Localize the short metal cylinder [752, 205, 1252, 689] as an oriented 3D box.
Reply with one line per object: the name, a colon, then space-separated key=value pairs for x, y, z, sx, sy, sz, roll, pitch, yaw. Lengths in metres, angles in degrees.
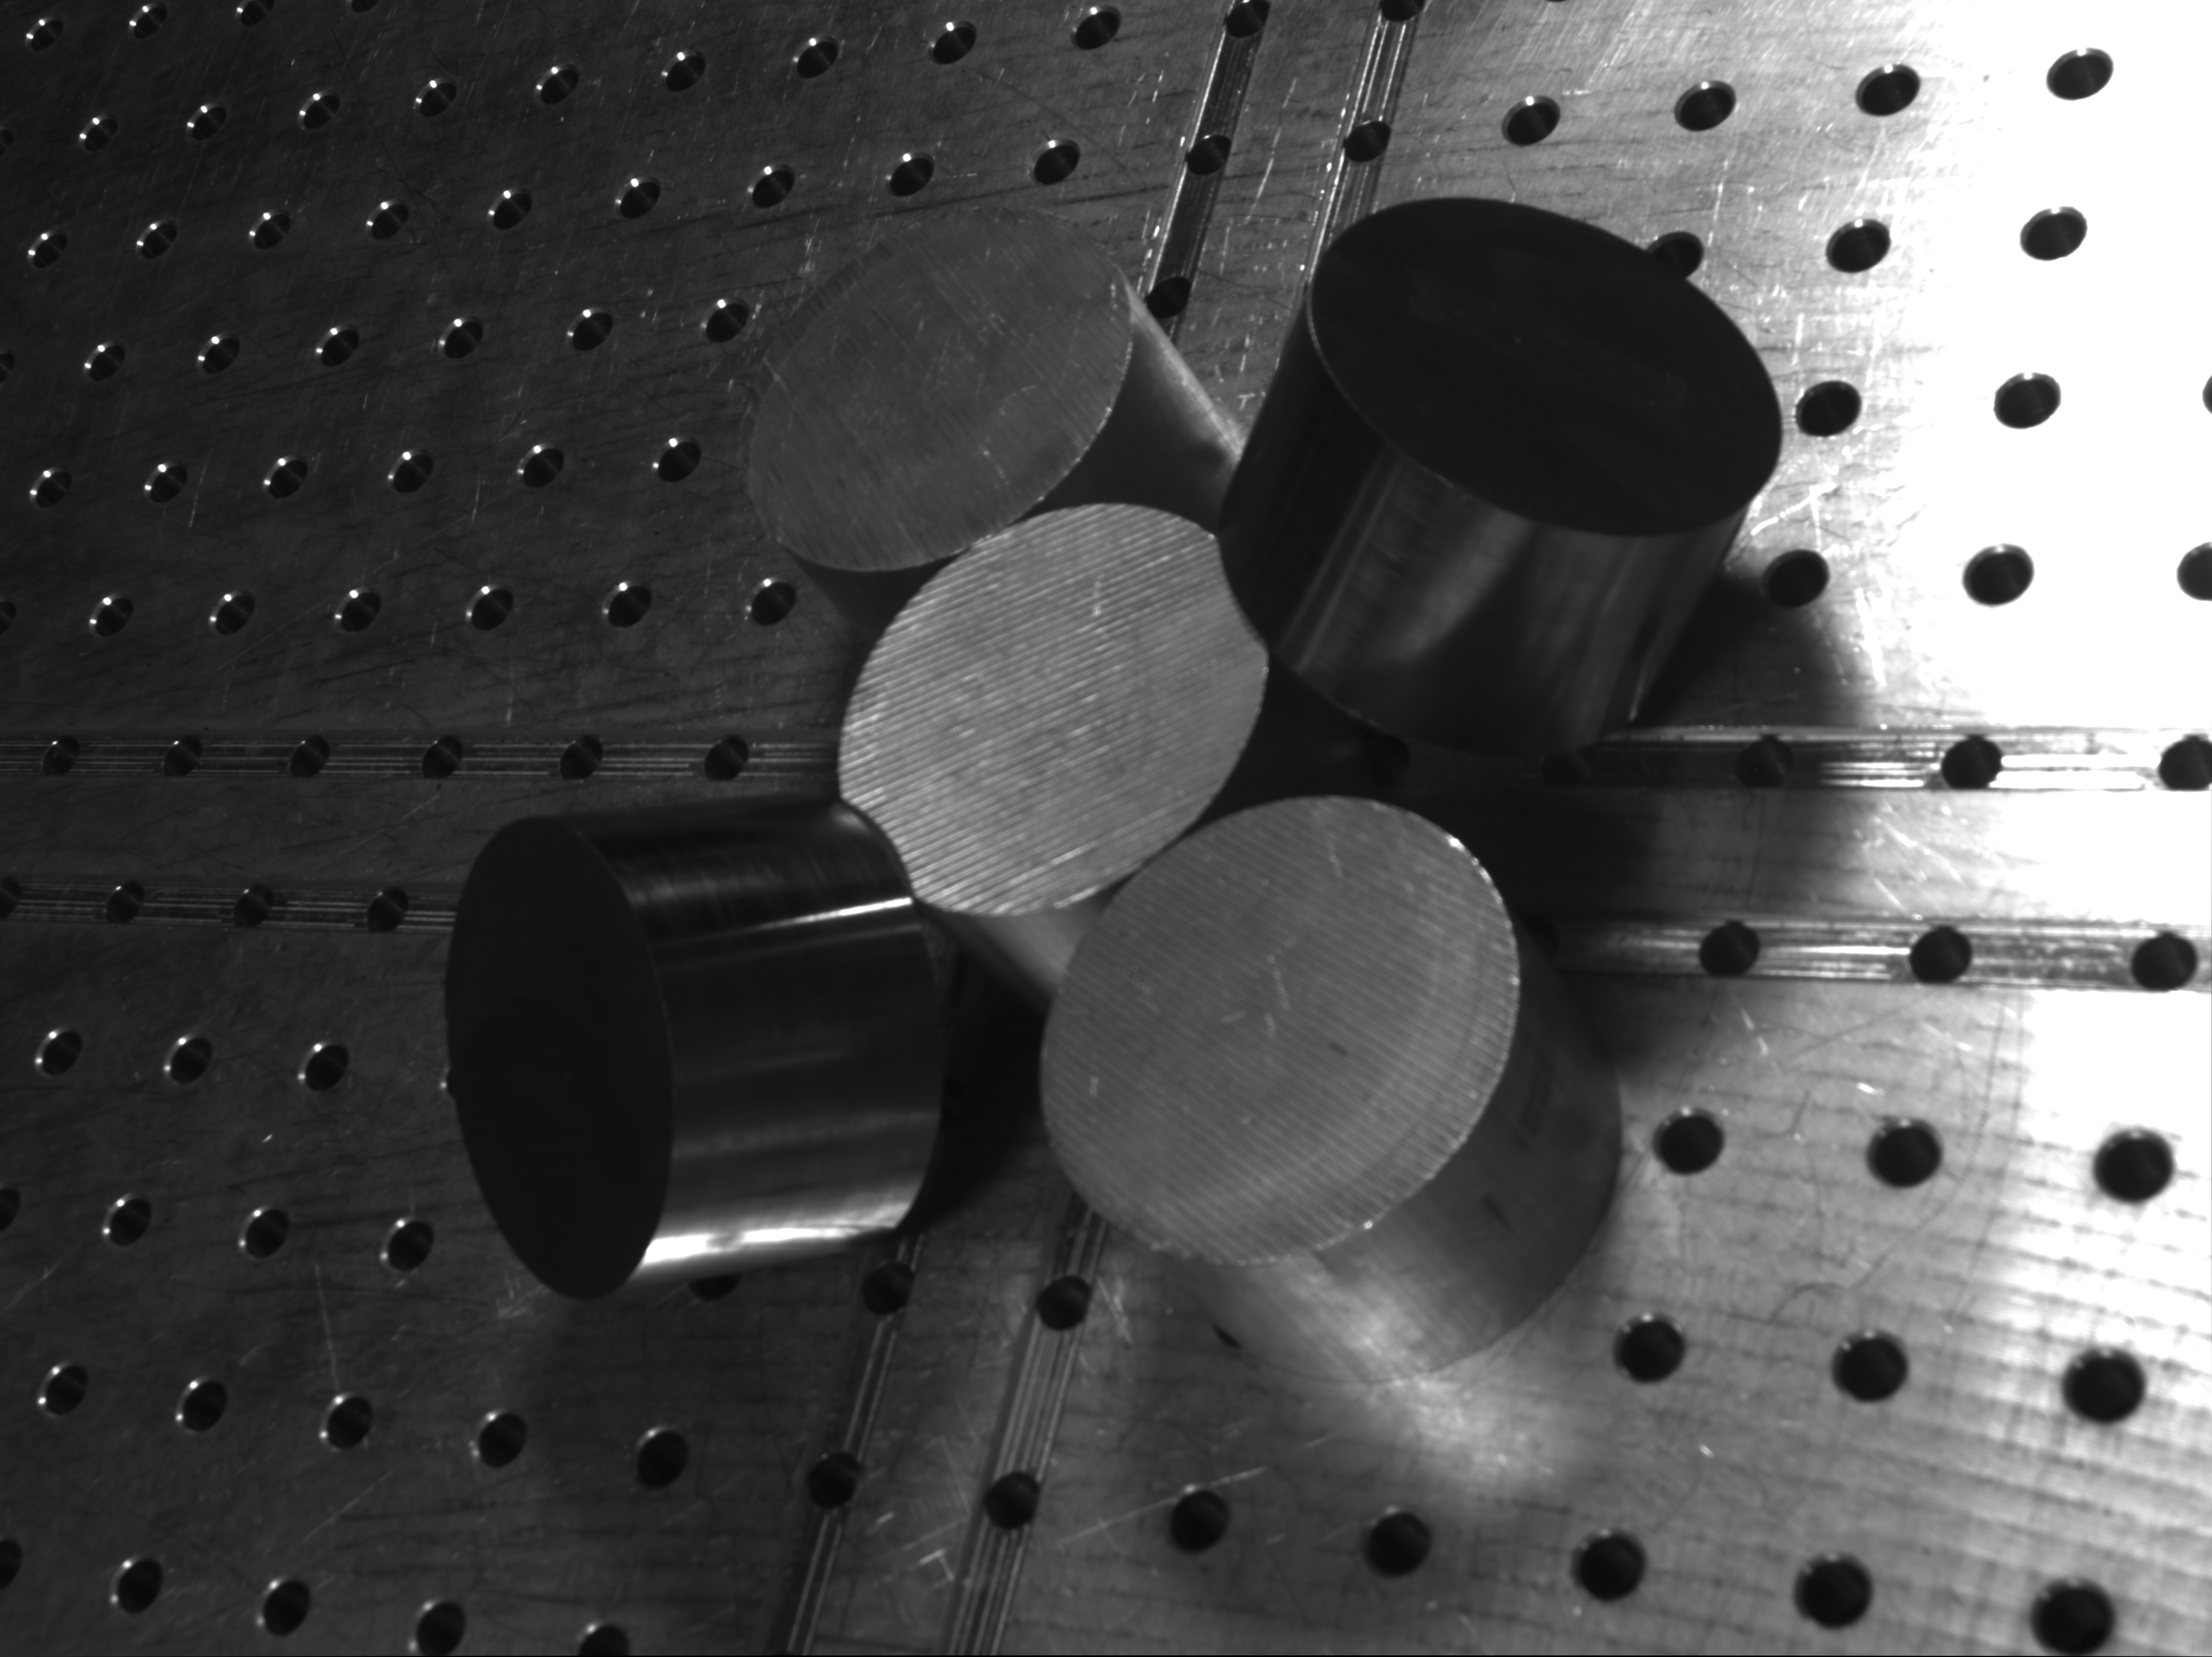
short metal cylinder: x=-0.019 y=-0.069 z=0.683 sx=0.080 sy=0.050 sz=0.080 roll=-13 pitch=56 yaw=21

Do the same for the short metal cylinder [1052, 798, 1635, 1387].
short metal cylinder: x=0.038 y=0.042 z=0.584 sx=0.080 sy=0.050 sz=0.080 roll=-13 pitch=56 yaw=21

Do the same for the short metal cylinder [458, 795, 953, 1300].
short metal cylinder: x=-0.069 y=0.036 z=0.619 sx=0.080 sy=0.050 sz=0.080 roll=12 pitch=105 yaw=53

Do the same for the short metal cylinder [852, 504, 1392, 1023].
short metal cylinder: x=0.003 y=-0.009 z=0.635 sx=0.080 sy=0.050 sz=0.080 roll=-13 pitch=56 yaw=21

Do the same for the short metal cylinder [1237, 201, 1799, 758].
short metal cylinder: x=0.067 y=-0.058 z=0.605 sx=0.080 sy=0.050 sz=0.080 roll=11 pitch=46 yaw=-11
